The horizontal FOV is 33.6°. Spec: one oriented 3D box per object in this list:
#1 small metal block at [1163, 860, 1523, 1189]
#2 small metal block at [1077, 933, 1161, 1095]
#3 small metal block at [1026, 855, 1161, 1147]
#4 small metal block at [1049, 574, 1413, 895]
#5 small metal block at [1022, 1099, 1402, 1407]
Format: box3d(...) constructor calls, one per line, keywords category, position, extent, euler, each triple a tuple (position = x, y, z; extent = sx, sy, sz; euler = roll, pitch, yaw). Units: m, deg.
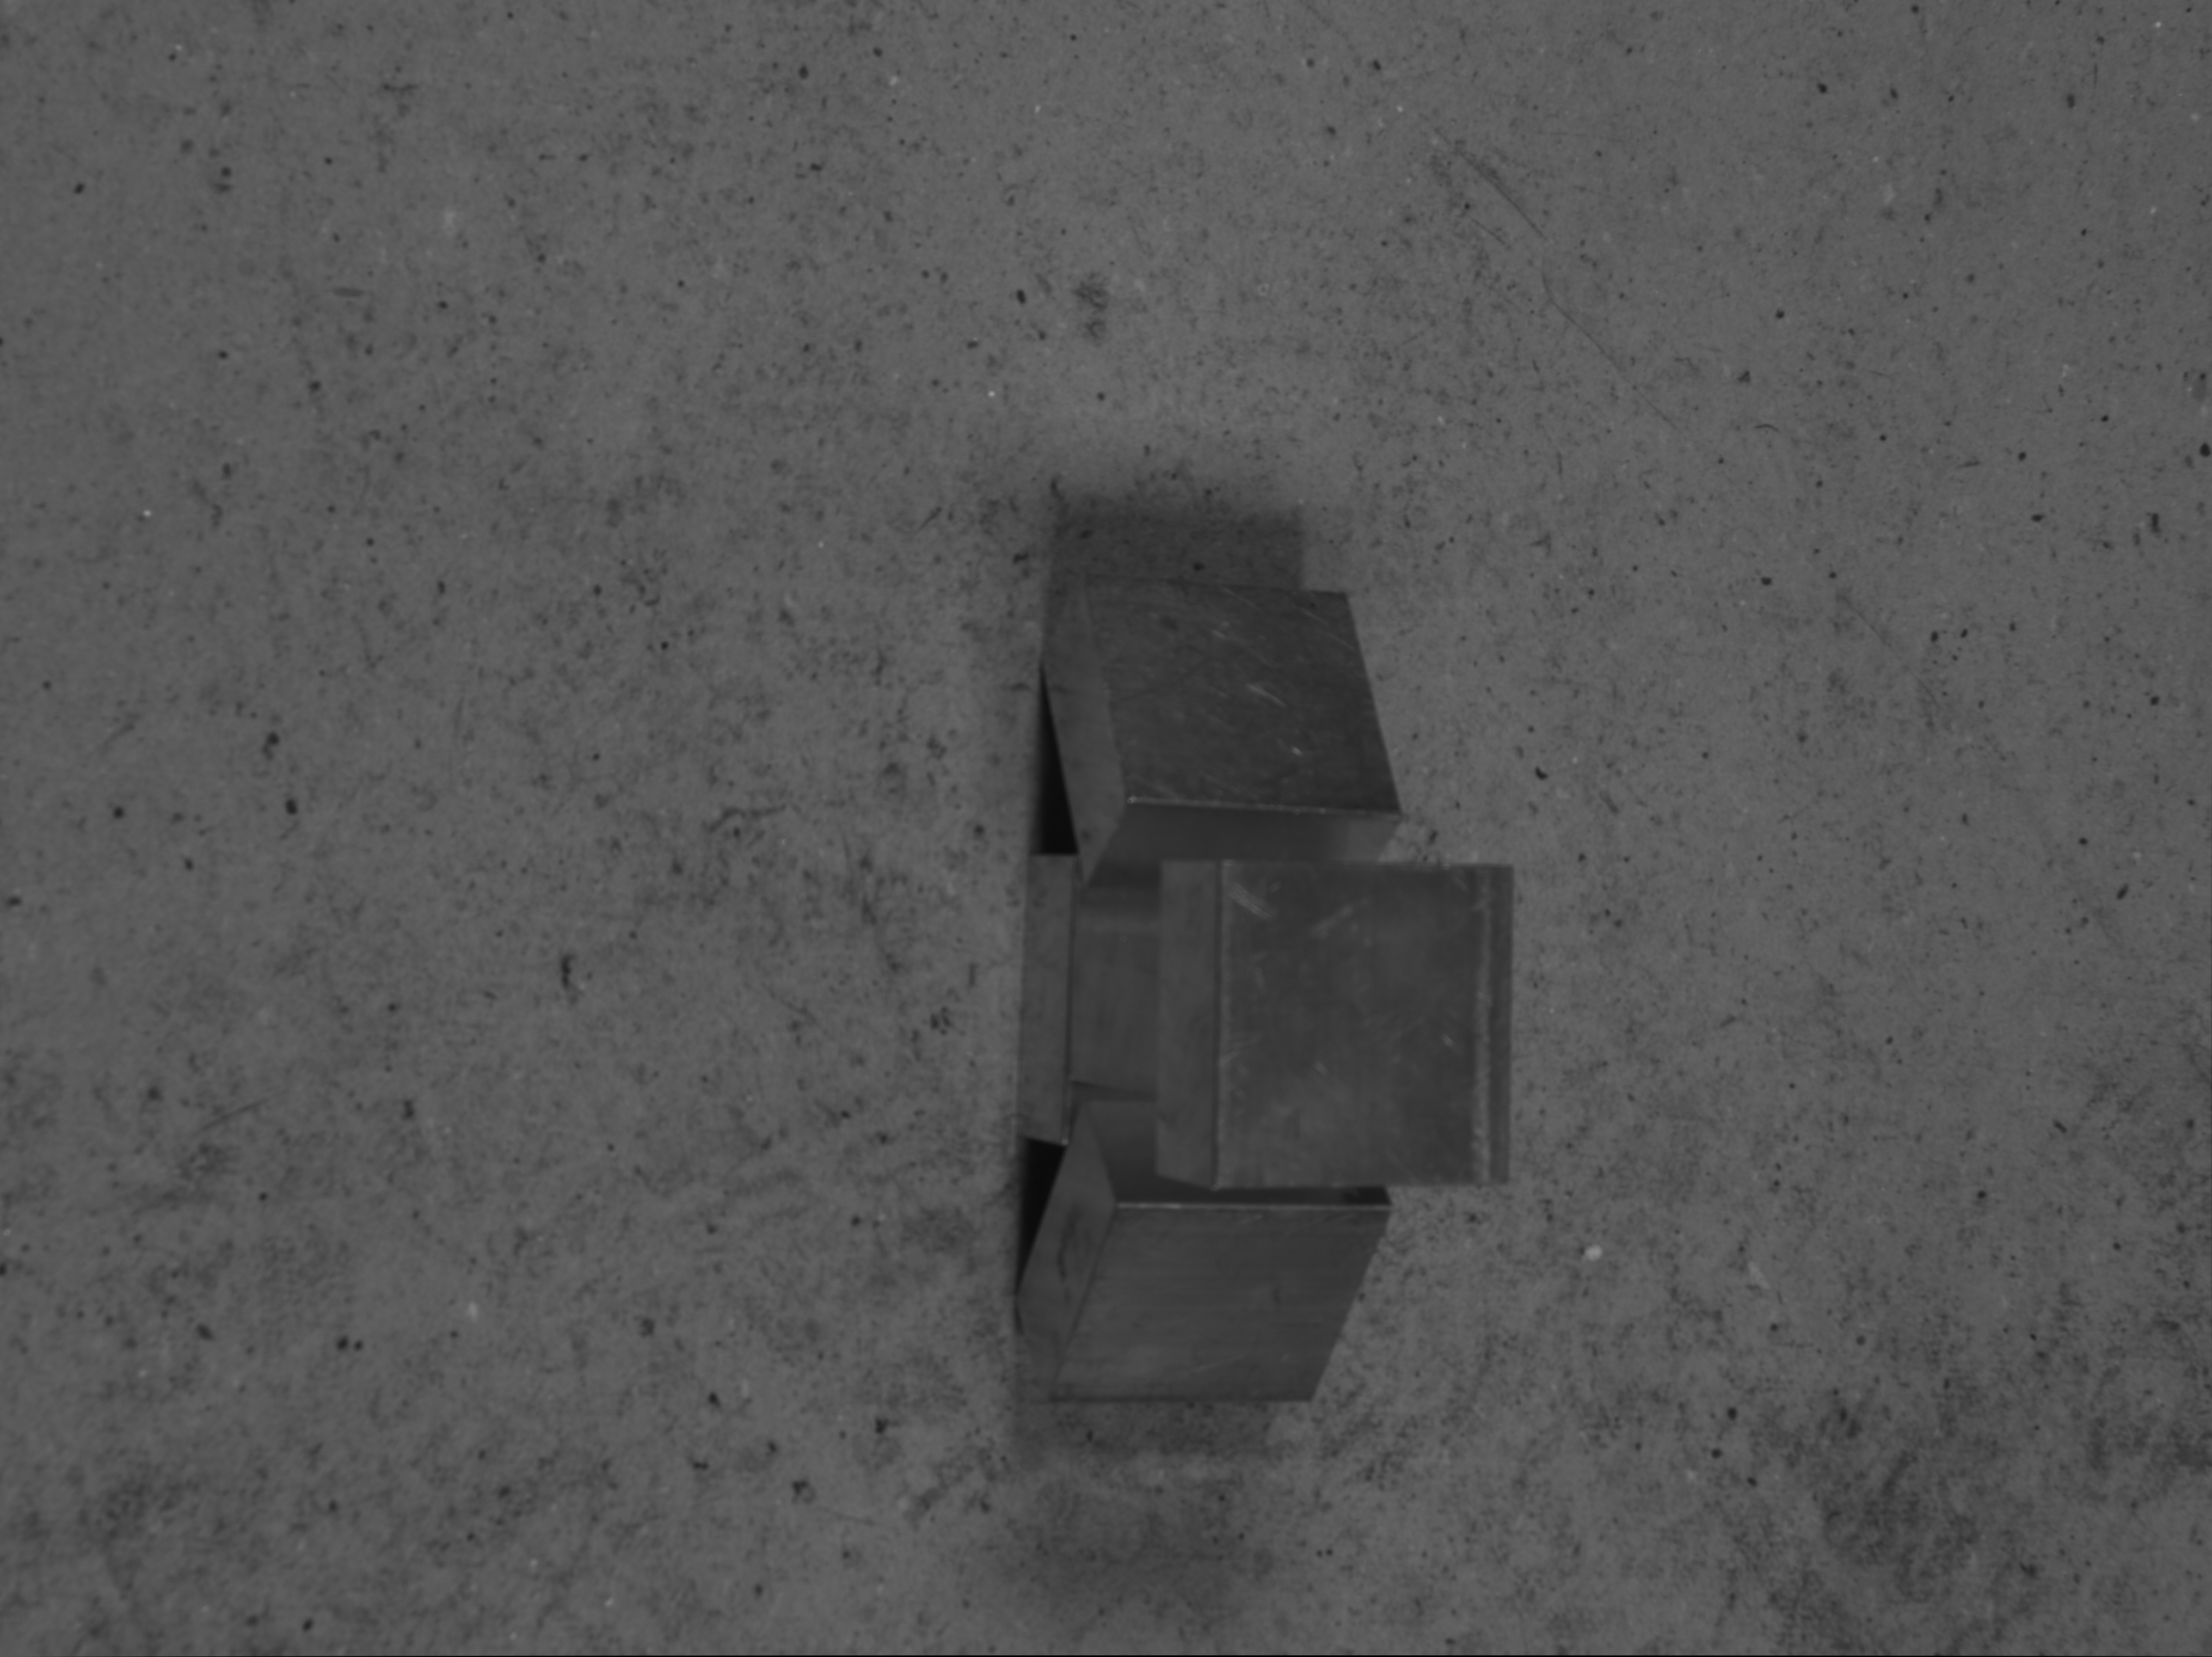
box3d(category="small metal block", position=(0.037, 0.030, 0.577), extent=(0.050, 0.025, 0.050), euler=(1, 90, -20))
box3d(category="small metal block", position=(0.027, 0.032, 0.613), extent=(0.050, 0.050, 0.025), euler=(3, 89, -20))
box3d(category="small metal block", position=(0.014, 0.031, 0.649), extent=(0.050, 0.025, 0.050), euler=(3, 89, -20))
box3d(category="small metal block", position=(0.021, -0.015, 0.638), extent=(0.050, 0.025, 0.050), euler=(3, 53, -19))
box3d(category="small metal block", position=(0.018, 0.074, 0.636), extent=(0.050, 0.025, 0.050), euler=(3, 130, -20))
